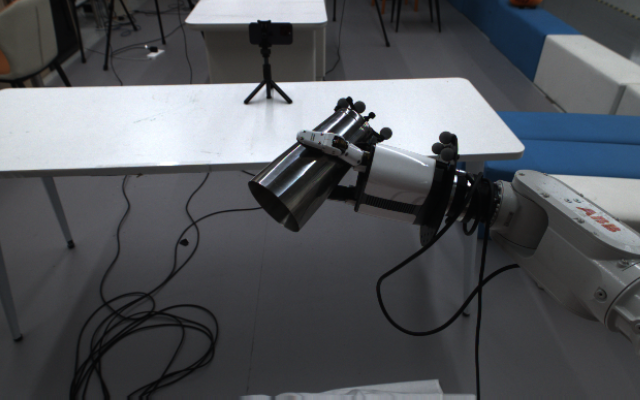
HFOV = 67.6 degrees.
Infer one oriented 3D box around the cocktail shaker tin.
[{"bbox_3d":[-0.005,-0.053,0.658,0.093,0.093,0.170,31,66,35],"label":"cocktail shaker tin"}]
